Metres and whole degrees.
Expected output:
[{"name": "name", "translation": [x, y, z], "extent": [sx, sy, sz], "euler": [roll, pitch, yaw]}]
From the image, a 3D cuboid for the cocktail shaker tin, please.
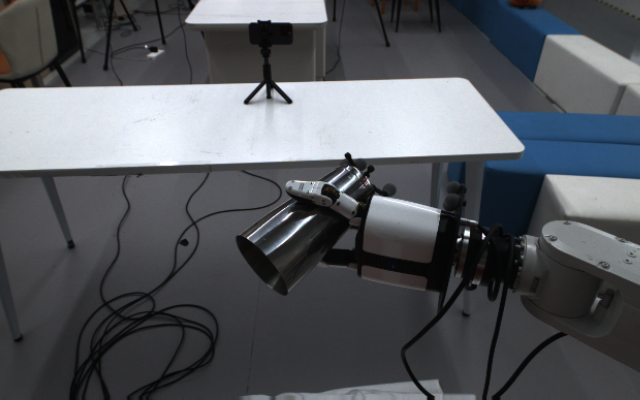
[{"name": "cocktail shaker tin", "translation": [-0.010, 0.025, 0.608], "extent": [0.170, 0.093, 0.093], "euler": [-38, 49, -23]}]
